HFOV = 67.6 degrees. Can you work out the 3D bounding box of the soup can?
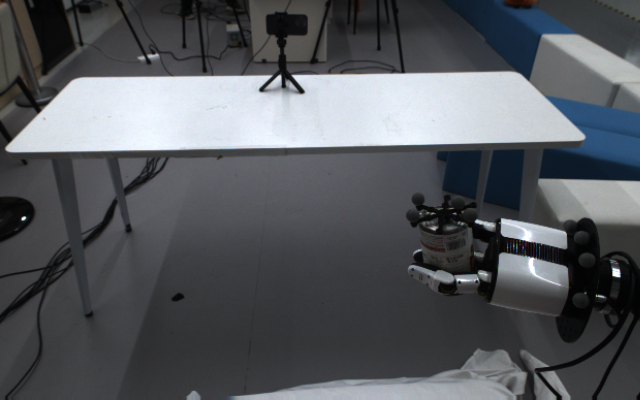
[{"bbox_3d":[0.171,0.065,0.637,0.067,0.101,0.067,-11,27,6],"label":"soup can"}]
